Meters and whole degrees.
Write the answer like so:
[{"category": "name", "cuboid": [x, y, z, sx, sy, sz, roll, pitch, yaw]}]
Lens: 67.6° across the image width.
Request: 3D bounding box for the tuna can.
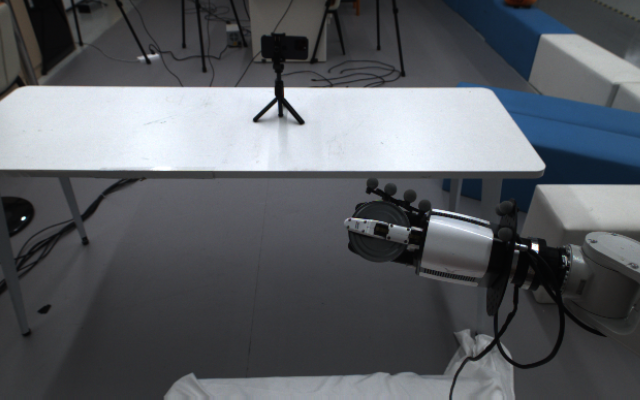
[{"category": "tuna can", "cuboid": [0.086, 0.042, 0.674, 0.085, 0.085, 0.034, 14, -7, 16]}]
